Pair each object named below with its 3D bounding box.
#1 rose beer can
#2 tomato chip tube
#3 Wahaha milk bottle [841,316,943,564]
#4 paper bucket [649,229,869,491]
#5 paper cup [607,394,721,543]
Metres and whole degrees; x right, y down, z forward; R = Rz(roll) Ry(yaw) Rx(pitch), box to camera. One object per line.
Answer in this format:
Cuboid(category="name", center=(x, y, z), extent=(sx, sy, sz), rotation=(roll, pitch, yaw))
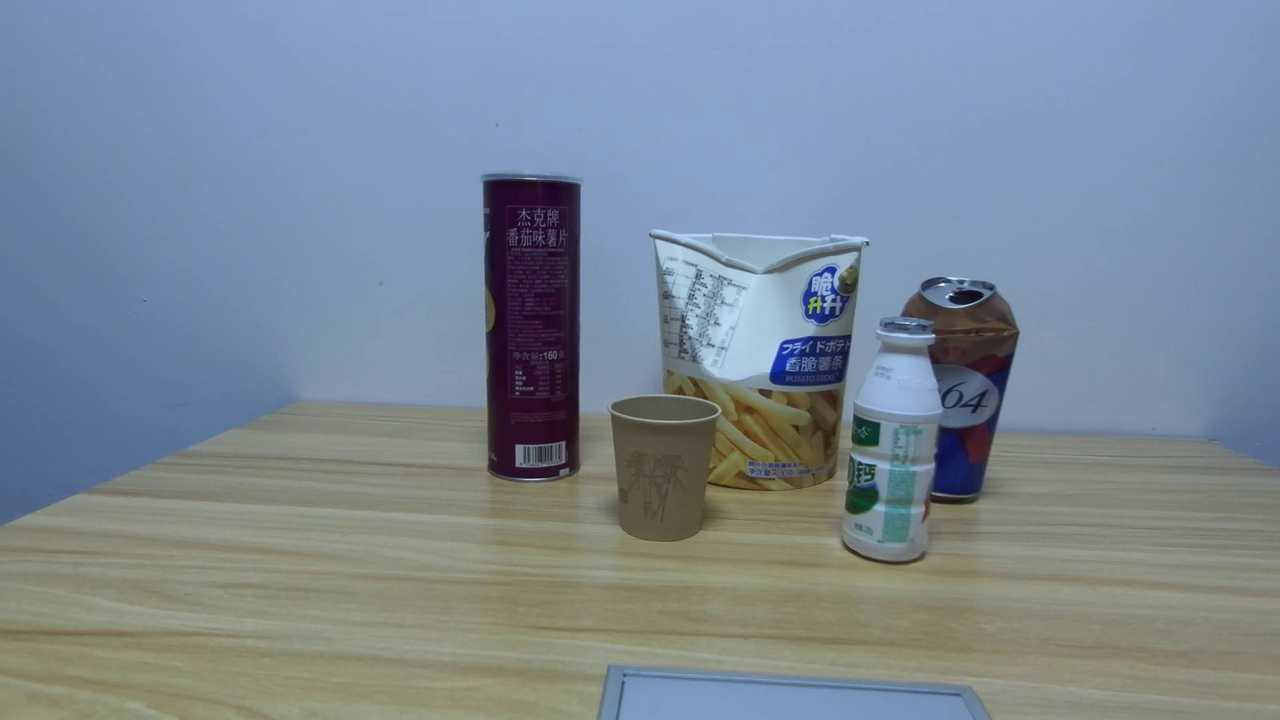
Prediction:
Cuboid(category="rose beer can", center=(0.235, 0.023, 0.542), extent=(0.069, 0.168, 0.069), rotation=(-1, 14, -13))
Cuboid(category="tomato chip tube", center=(-0.085, -0.026, 0.568), extent=(0.078, 0.233, 0.078), rotation=(1, 9, 0))
Cuboid(category="Wahaha milk bottle", center=(0.157, 0.048, 0.437), extent=(0.053, 0.147, 0.053), rotation=(2, 10, 0))
Cuboid(category="paper bucket", center=(0.088, -0.008, 0.599), extent=(0.162, 0.202, 0.169), rotation=(1, 8, 4))
Cuboid(category="paper cup", center=(0.015, 0.071, 0.468), extent=(0.075, 0.082, 0.075), rotation=(1, 10, 0))
